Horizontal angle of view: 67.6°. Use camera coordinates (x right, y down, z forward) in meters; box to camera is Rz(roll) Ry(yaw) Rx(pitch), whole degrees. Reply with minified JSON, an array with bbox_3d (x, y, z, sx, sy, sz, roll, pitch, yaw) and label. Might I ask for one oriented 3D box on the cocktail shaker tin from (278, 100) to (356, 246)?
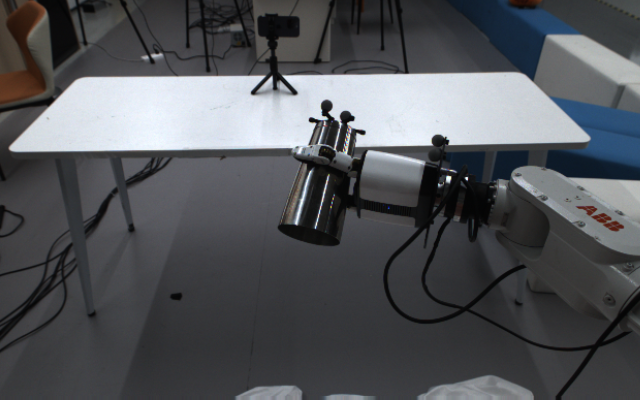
[{"bbox_3d":[0.004,-0.028,0.709,0.093,0.093,0.170,11,71,12],"label":"cocktail shaker tin"}]
